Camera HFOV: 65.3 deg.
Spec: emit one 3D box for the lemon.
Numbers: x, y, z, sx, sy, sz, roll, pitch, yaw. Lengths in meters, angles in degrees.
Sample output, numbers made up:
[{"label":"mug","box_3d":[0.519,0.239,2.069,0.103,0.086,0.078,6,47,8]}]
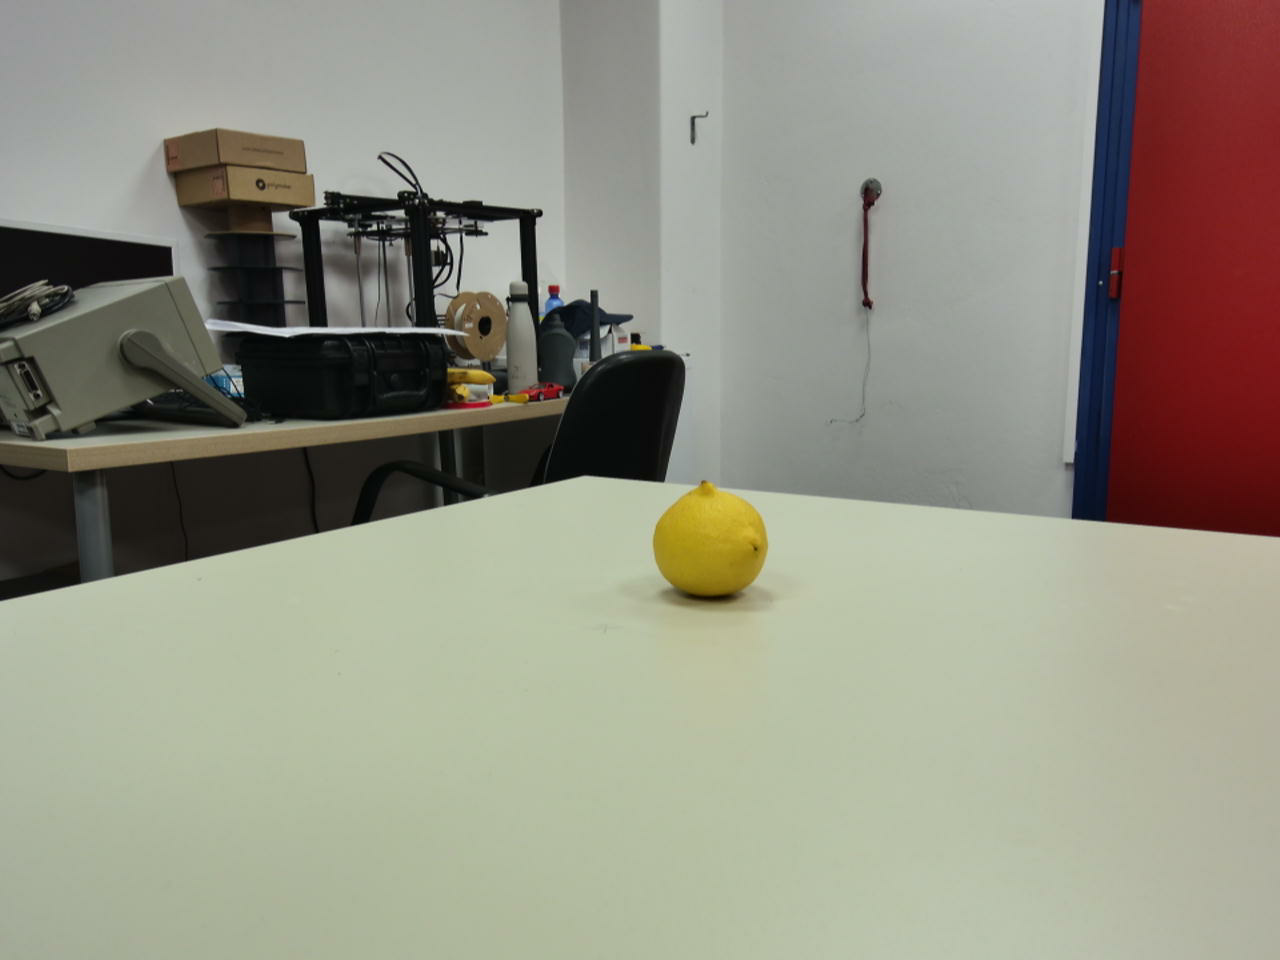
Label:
[{"label":"lemon","box_3d":[0.043,0.036,0.621,0.070,0.071,0.071,0,7,1]}]
